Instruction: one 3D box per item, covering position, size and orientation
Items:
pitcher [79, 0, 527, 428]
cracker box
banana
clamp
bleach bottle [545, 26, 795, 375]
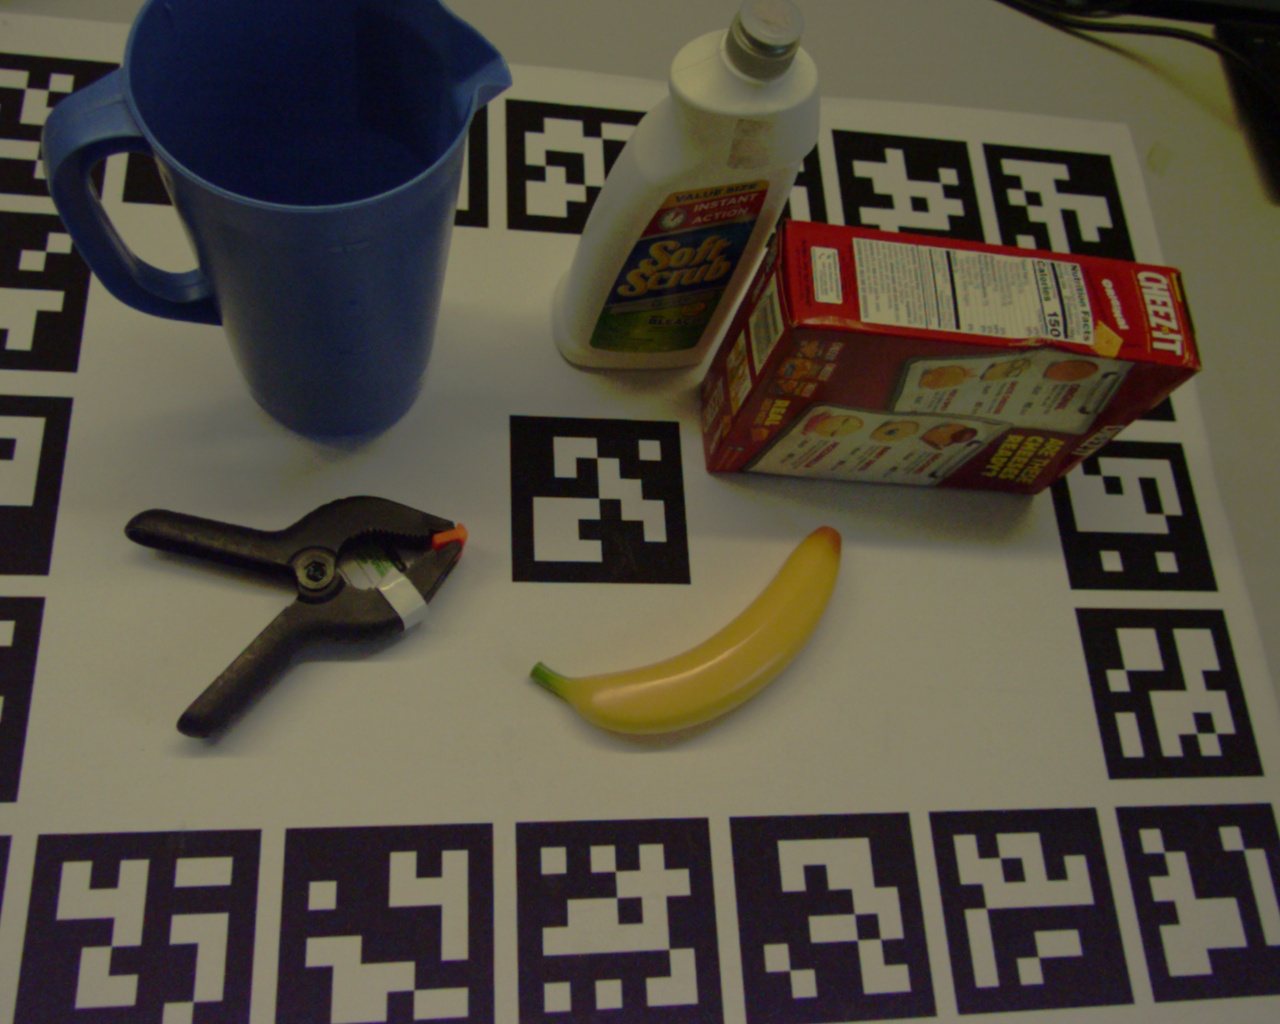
[{"bbox_3d":[-0.160,-0.136,0.559,0.187,0.243,0.134,-17,73,-22],"label":"pitcher"},{"bbox_3d":[0.164,-0.082,0.659,0.212,0.164,0.072,2,65,-10],"label":"cracker box"},{"bbox_3d":[0.046,0.061,0.669,0.196,0.039,0.074,-34,78,-22],"label":"banana"},{"bbox_3d":[-0.168,0.032,0.626,0.164,0.037,0.122,-15,71,-19],"label":"clamp"},{"bbox_3d":[0.015,-0.164,0.630,0.102,0.251,0.068,1,68,-13],"label":"bleach bottle"}]
